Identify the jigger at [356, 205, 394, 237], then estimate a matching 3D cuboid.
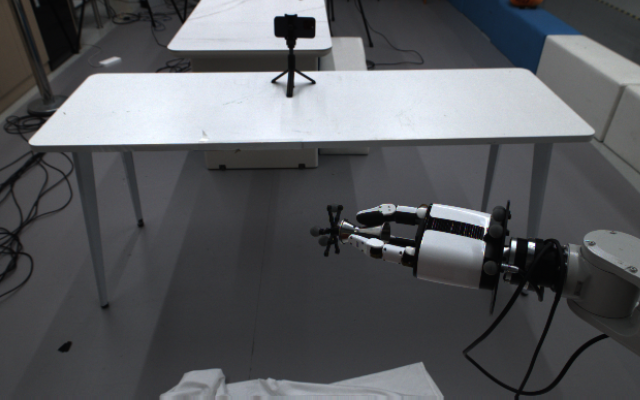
[{"bbox_3d":[0.074,0.043,0.728,0.071,0.043,0.043,3,32,26],"label":"jigger"}]
